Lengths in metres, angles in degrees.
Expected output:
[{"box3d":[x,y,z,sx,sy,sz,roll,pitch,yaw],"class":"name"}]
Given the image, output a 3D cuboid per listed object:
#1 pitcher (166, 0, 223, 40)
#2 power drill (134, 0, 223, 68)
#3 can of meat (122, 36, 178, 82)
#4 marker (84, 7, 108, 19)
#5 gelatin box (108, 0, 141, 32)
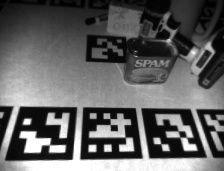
[{"box3d":[0.187,-0.227,0.516,0.187,0.244,0.134,23,56,19],"class":"pitcher"},{"box3d":[0.142,-0.132,0.466,0.186,0.185,0.057,32,58,10],"class":"power drill"},{"box3d":[0.074,-0.054,0.455,0.102,0.084,0.057,0,51,-8],"class":"can of meat"},{"box3d":[-0.022,-0.207,0.600,0.122,0.020,0.019,-22,59,-22],"class":"marker"},{"box3d":[0.037,-0.178,0.556,0.089,0.073,0.030,10,56,-2],"class":"gelatin box"}]
